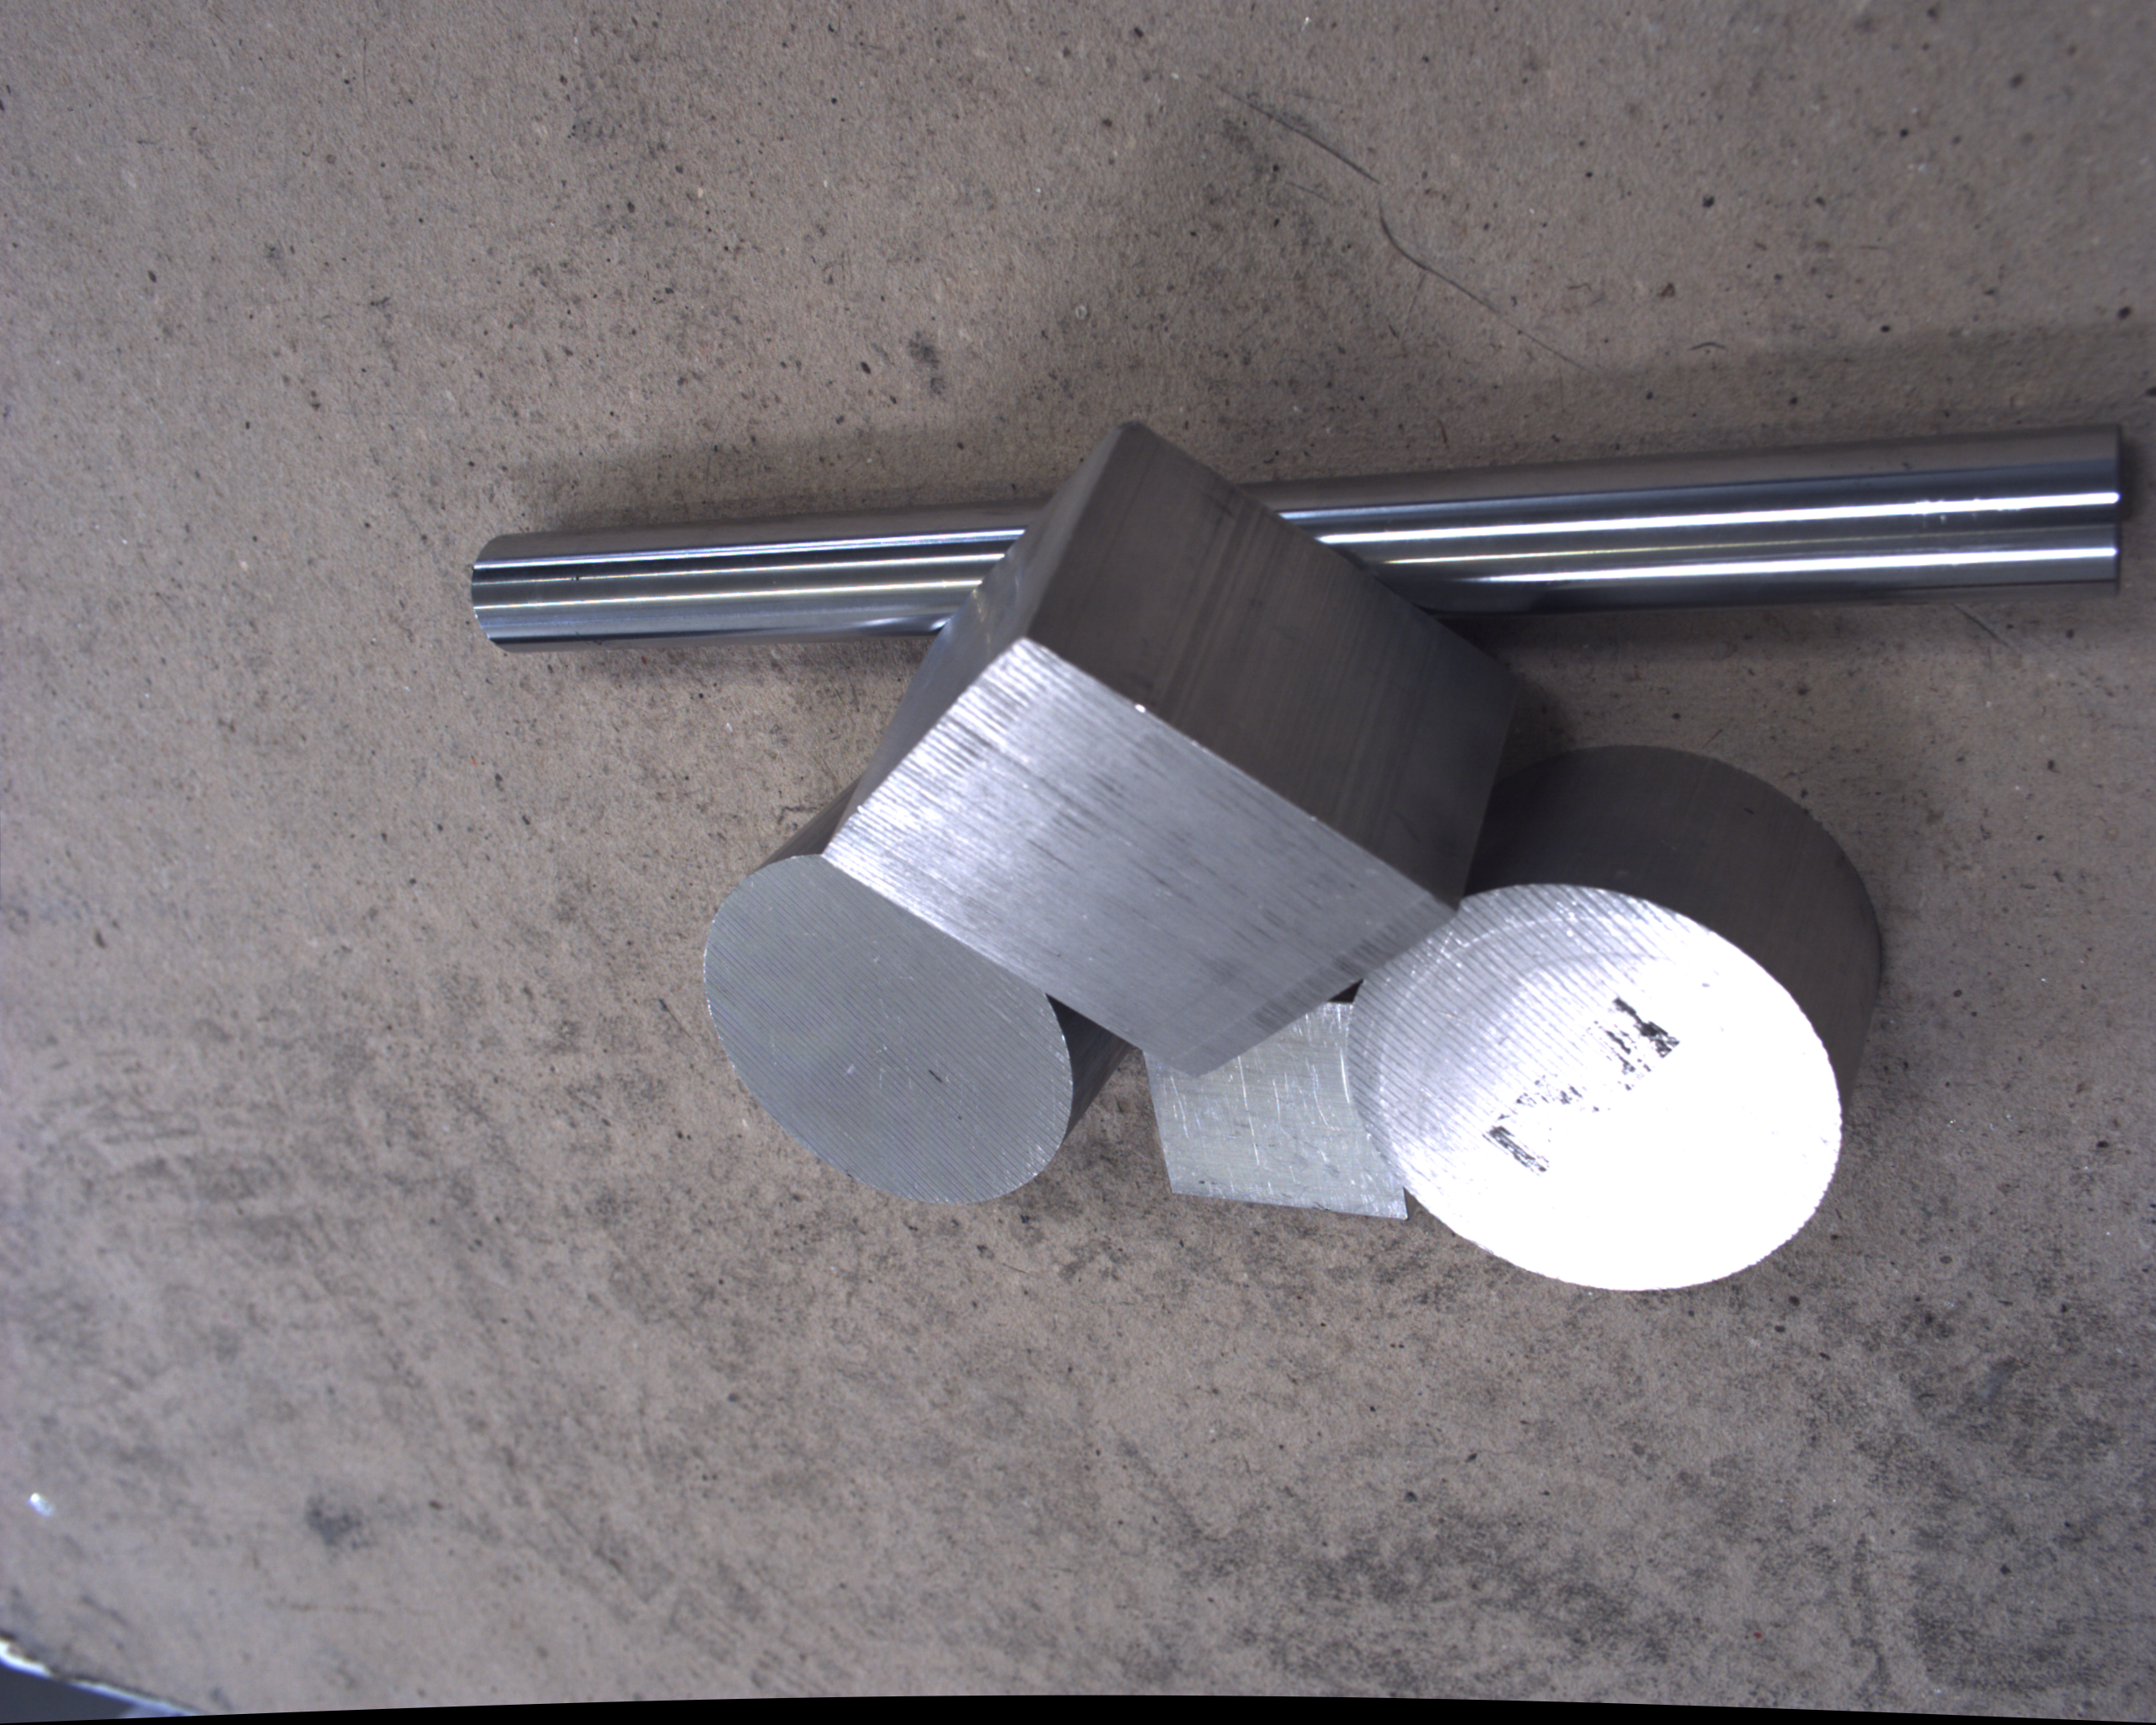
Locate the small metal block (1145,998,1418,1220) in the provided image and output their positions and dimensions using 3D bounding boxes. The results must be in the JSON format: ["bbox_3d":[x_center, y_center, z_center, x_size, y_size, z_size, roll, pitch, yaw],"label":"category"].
[{"bbox_3d":[0.042,0.040,0.412,0.050,0.025,0.050,2,120,27],"label":"small metal block"}]

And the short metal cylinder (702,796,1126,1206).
[{"bbox_3d":[-0.027,0.022,0.419,0.080,0.050,0.079,13,124,21],"label":"short metal cylinder"}]

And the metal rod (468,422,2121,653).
[{"bbox_3d":[0.015,-0.053,0.367,0.300,0.025,0.025,1,119,27],"label":"metal rod"}]

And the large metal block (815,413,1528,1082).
[{"bbox_3d":[0.014,-0.015,0.352,0.080,0.050,0.080,31,144,-13],"label":"large metal block"}]

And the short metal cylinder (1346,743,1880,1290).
[{"bbox_3d":[0.093,0.026,0.359,0.080,0.050,0.079,13,124,21],"label":"short metal cylinder"}]
